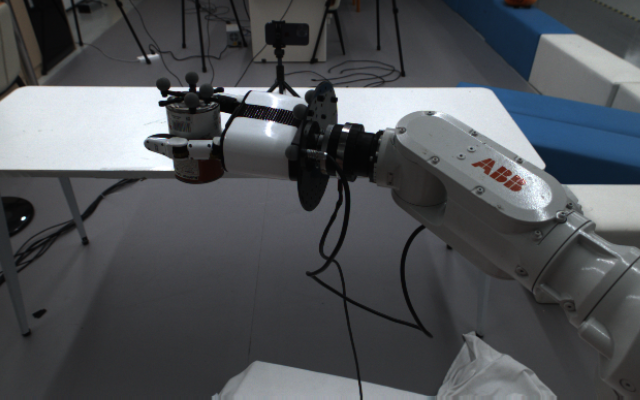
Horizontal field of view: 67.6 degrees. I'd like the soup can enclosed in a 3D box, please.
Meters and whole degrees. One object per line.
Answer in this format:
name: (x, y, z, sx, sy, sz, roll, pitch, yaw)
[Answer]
soup can: (-0.161, -0.079, 0.629, 0.067, 0.101, 0.067, 2, 32, -1)
